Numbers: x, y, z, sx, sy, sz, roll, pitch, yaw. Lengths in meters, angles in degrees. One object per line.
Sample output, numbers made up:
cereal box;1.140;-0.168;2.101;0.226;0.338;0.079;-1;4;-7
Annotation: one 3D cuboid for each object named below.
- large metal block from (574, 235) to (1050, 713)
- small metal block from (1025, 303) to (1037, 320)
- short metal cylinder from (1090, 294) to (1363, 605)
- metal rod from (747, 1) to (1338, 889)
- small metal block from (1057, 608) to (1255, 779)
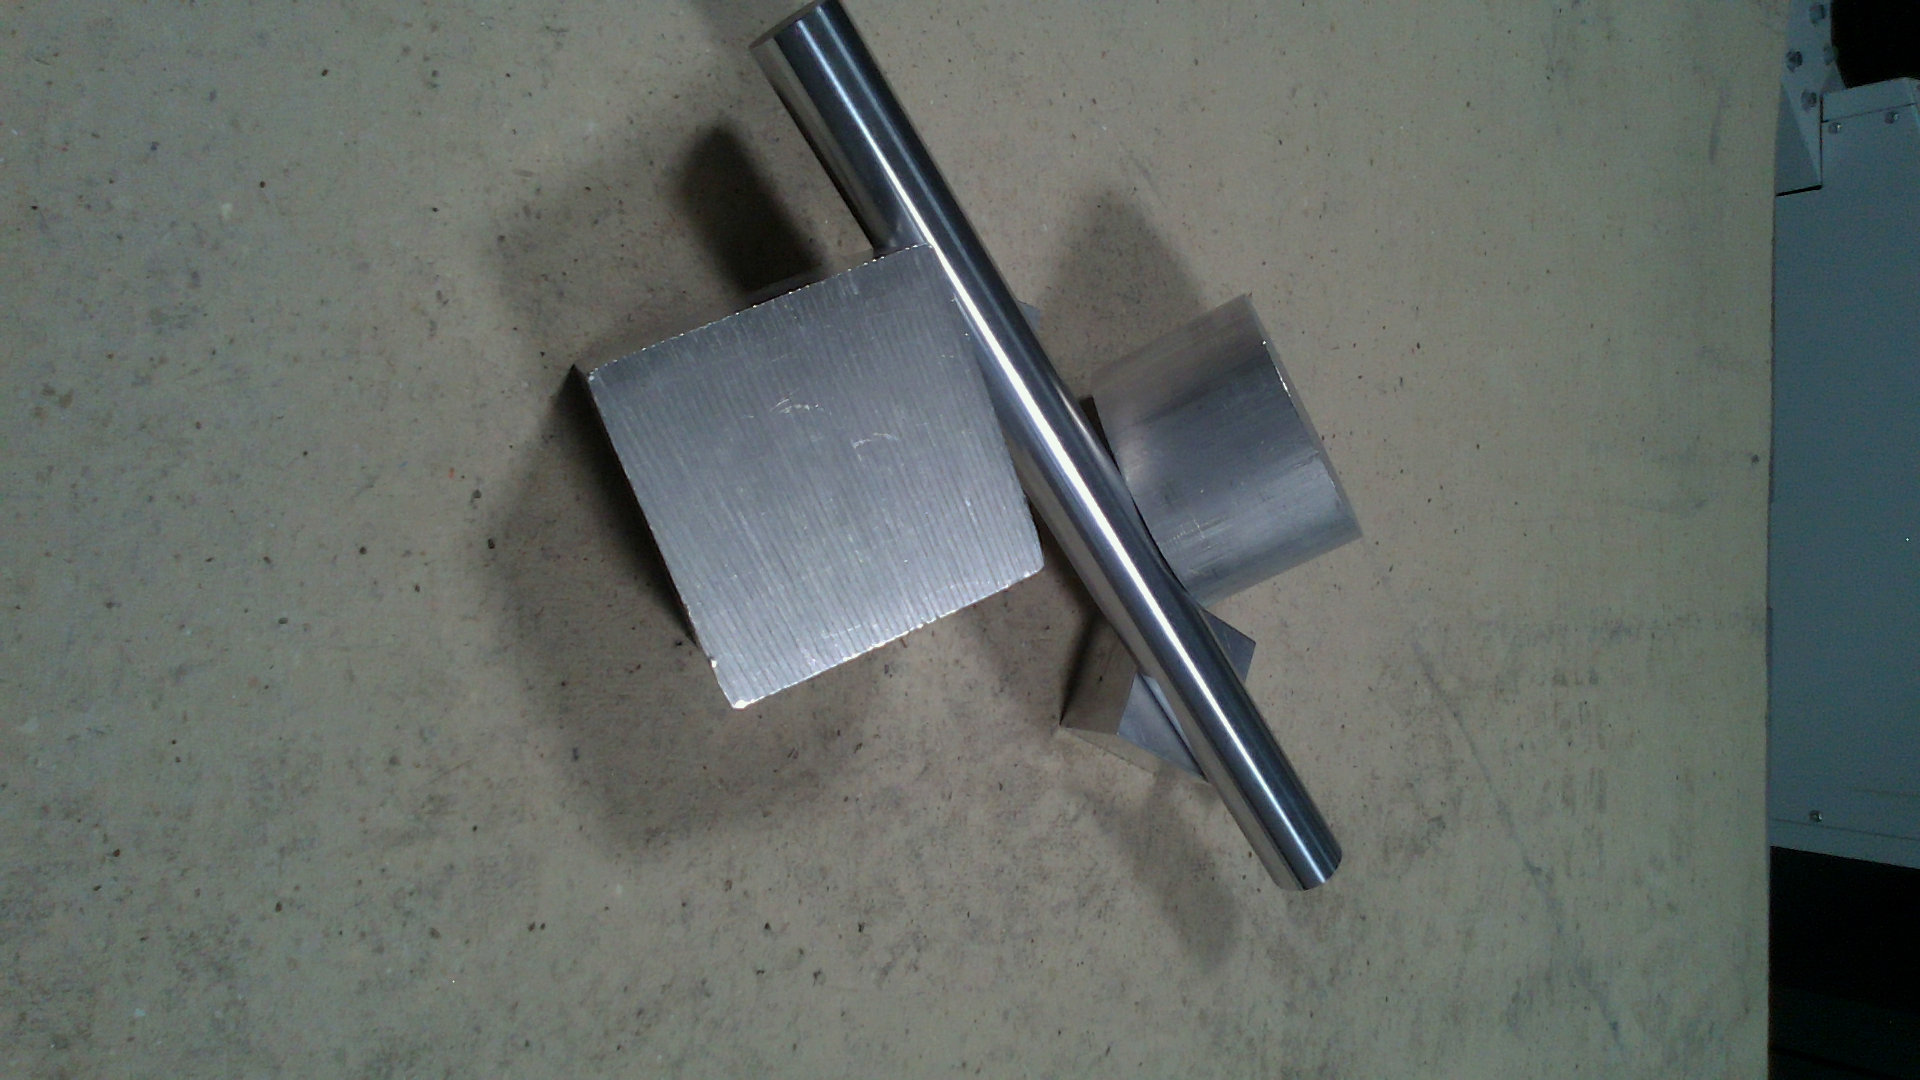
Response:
large metal block;-0.036;-0.018;0.322;0.080;0.050;0.080;-24;107;-13
small metal block;-0.009;-0.047;0.382;0.050;0.025;0.050;16;80;-39
short metal cylinder;0.080;-0.027;0.414;0.080;0.050;0.080;55;18;-27
metal rod;0.036;-0.009;0.387;0.025;0.025;0.301;-49;119;-29
small metal block;0.064;0.046;0.443;0.050;0.025;0.050;31;71;-36
